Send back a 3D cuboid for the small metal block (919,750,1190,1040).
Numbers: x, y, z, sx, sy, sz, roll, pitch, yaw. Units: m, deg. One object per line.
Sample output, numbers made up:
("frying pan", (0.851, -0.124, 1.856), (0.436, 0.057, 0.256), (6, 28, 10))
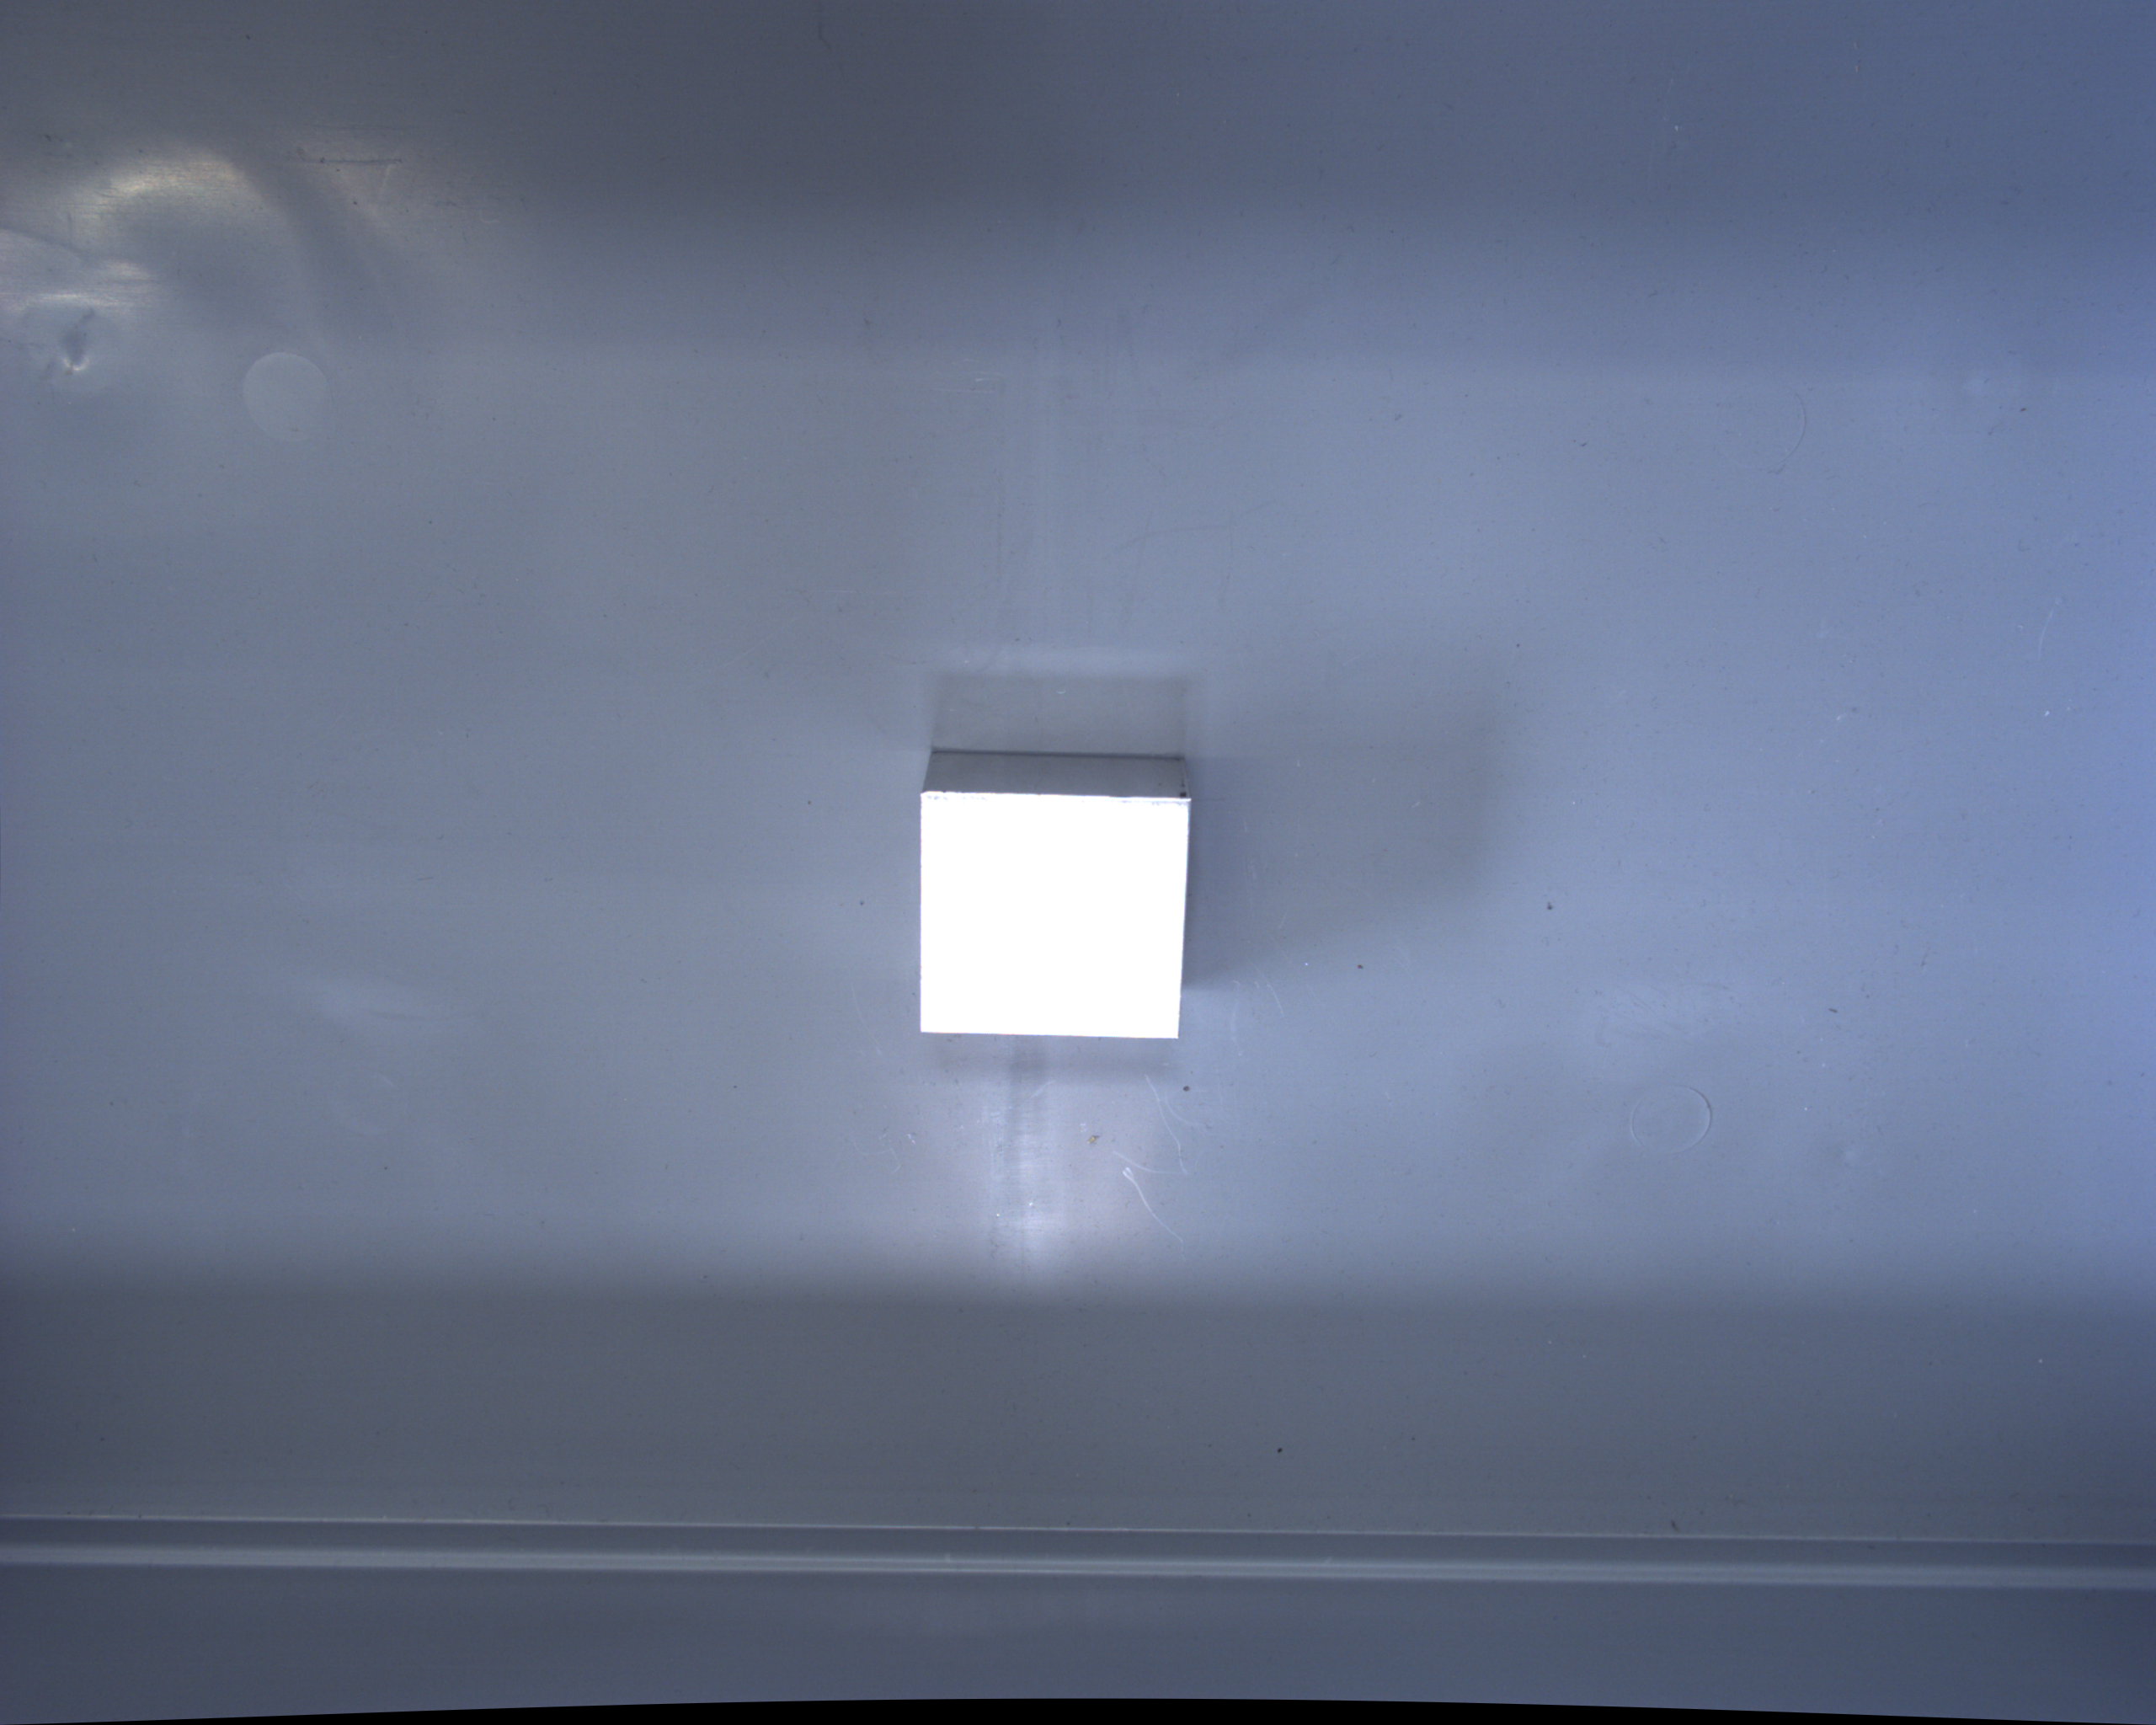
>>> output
("small metal block", (-0.005, 0.006, 0.409), (0.050, 0.025, 0.050), (2, 110, -1))
